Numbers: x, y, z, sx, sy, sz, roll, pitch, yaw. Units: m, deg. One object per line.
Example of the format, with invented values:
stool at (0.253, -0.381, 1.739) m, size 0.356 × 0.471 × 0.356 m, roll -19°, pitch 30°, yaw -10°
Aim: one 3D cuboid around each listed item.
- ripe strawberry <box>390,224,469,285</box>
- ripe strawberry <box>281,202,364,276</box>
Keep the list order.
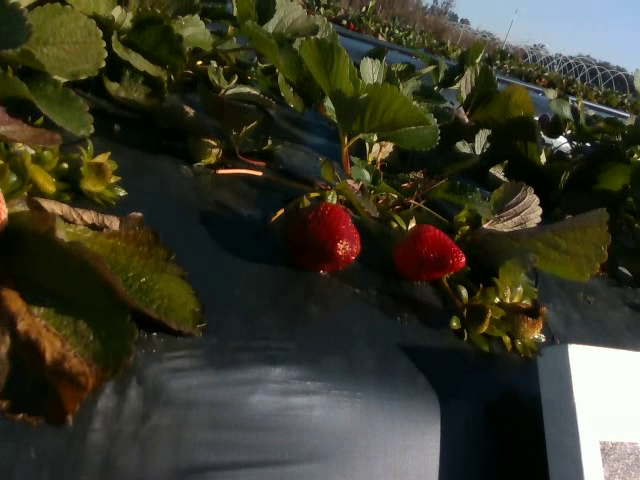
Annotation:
ripe strawberry at (0.068, 0.010, 0.357) m, size 0.042 × 0.039 × 0.049 m, roll -38°, pitch 31°, yaw -28°
ripe strawberry at (0.004, 0.000, 0.323) m, size 0.050 × 0.045 × 0.050 m, roll 28°, pitch -2°, yaw -18°
